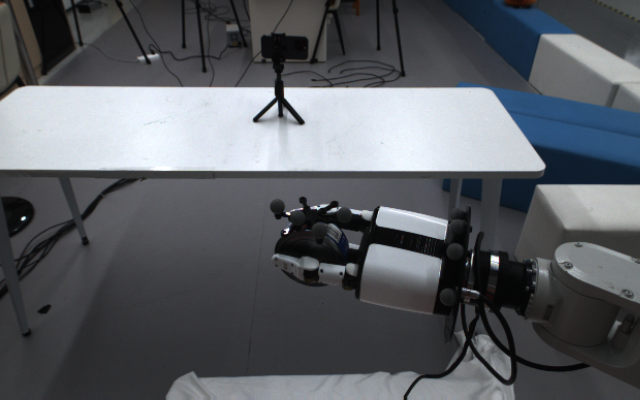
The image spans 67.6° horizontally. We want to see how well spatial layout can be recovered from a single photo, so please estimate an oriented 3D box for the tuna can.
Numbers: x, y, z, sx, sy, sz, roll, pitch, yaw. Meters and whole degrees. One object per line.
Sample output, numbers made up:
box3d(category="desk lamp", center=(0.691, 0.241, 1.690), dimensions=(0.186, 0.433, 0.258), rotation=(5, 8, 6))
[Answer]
box3d(category="tuna can", center=(-0.007, 0.059, 0.583), dimensions=(0.085, 0.085, 0.034), rotation=(10, 34, 12))
